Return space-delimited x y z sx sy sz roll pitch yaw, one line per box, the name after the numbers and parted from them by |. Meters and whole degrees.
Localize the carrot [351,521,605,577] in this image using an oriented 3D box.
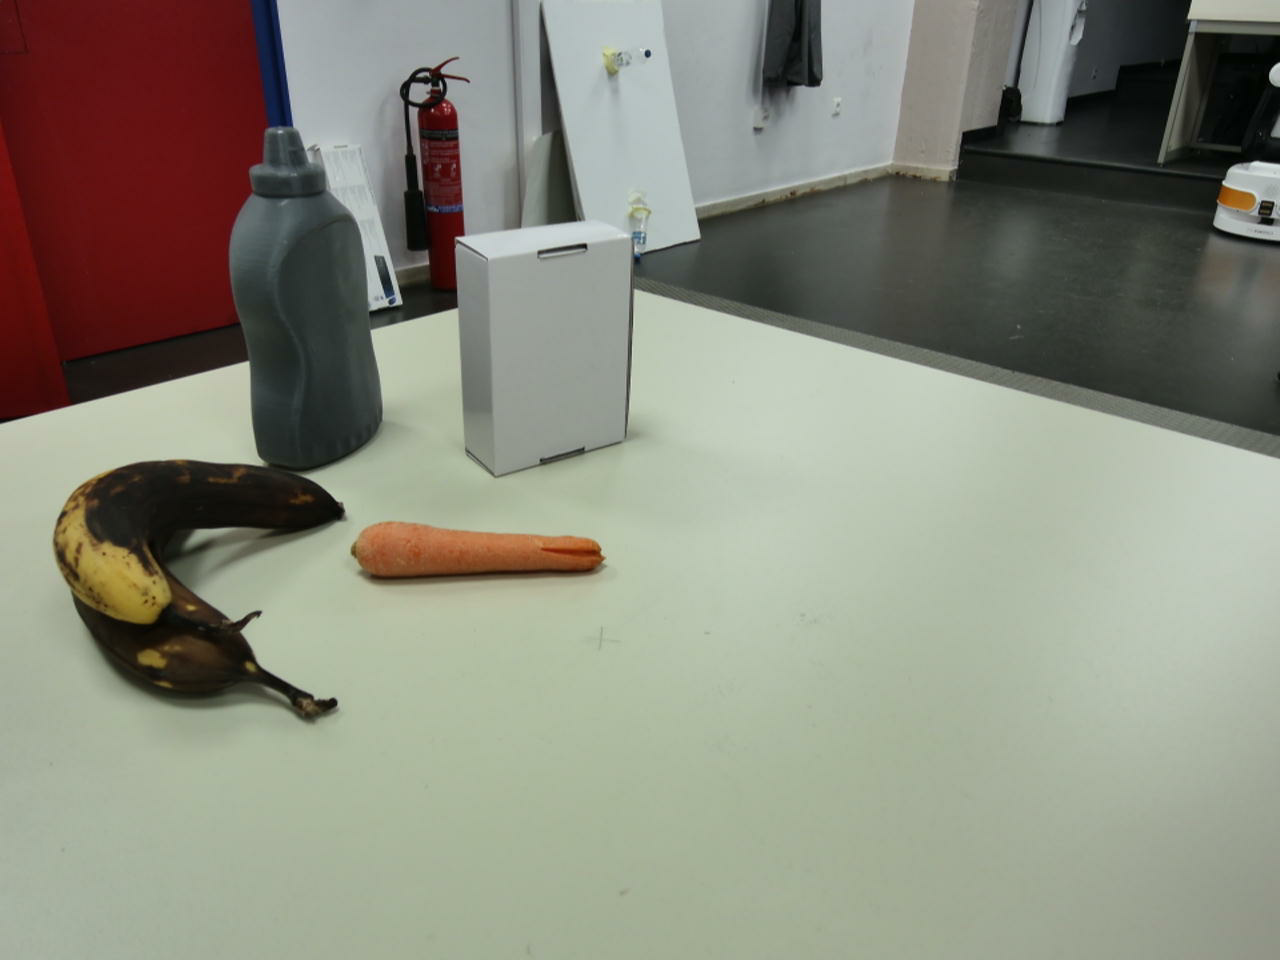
-0.087 0.037 0.544 0.136 0.032 0.030 -1 24 -3 | carrot
